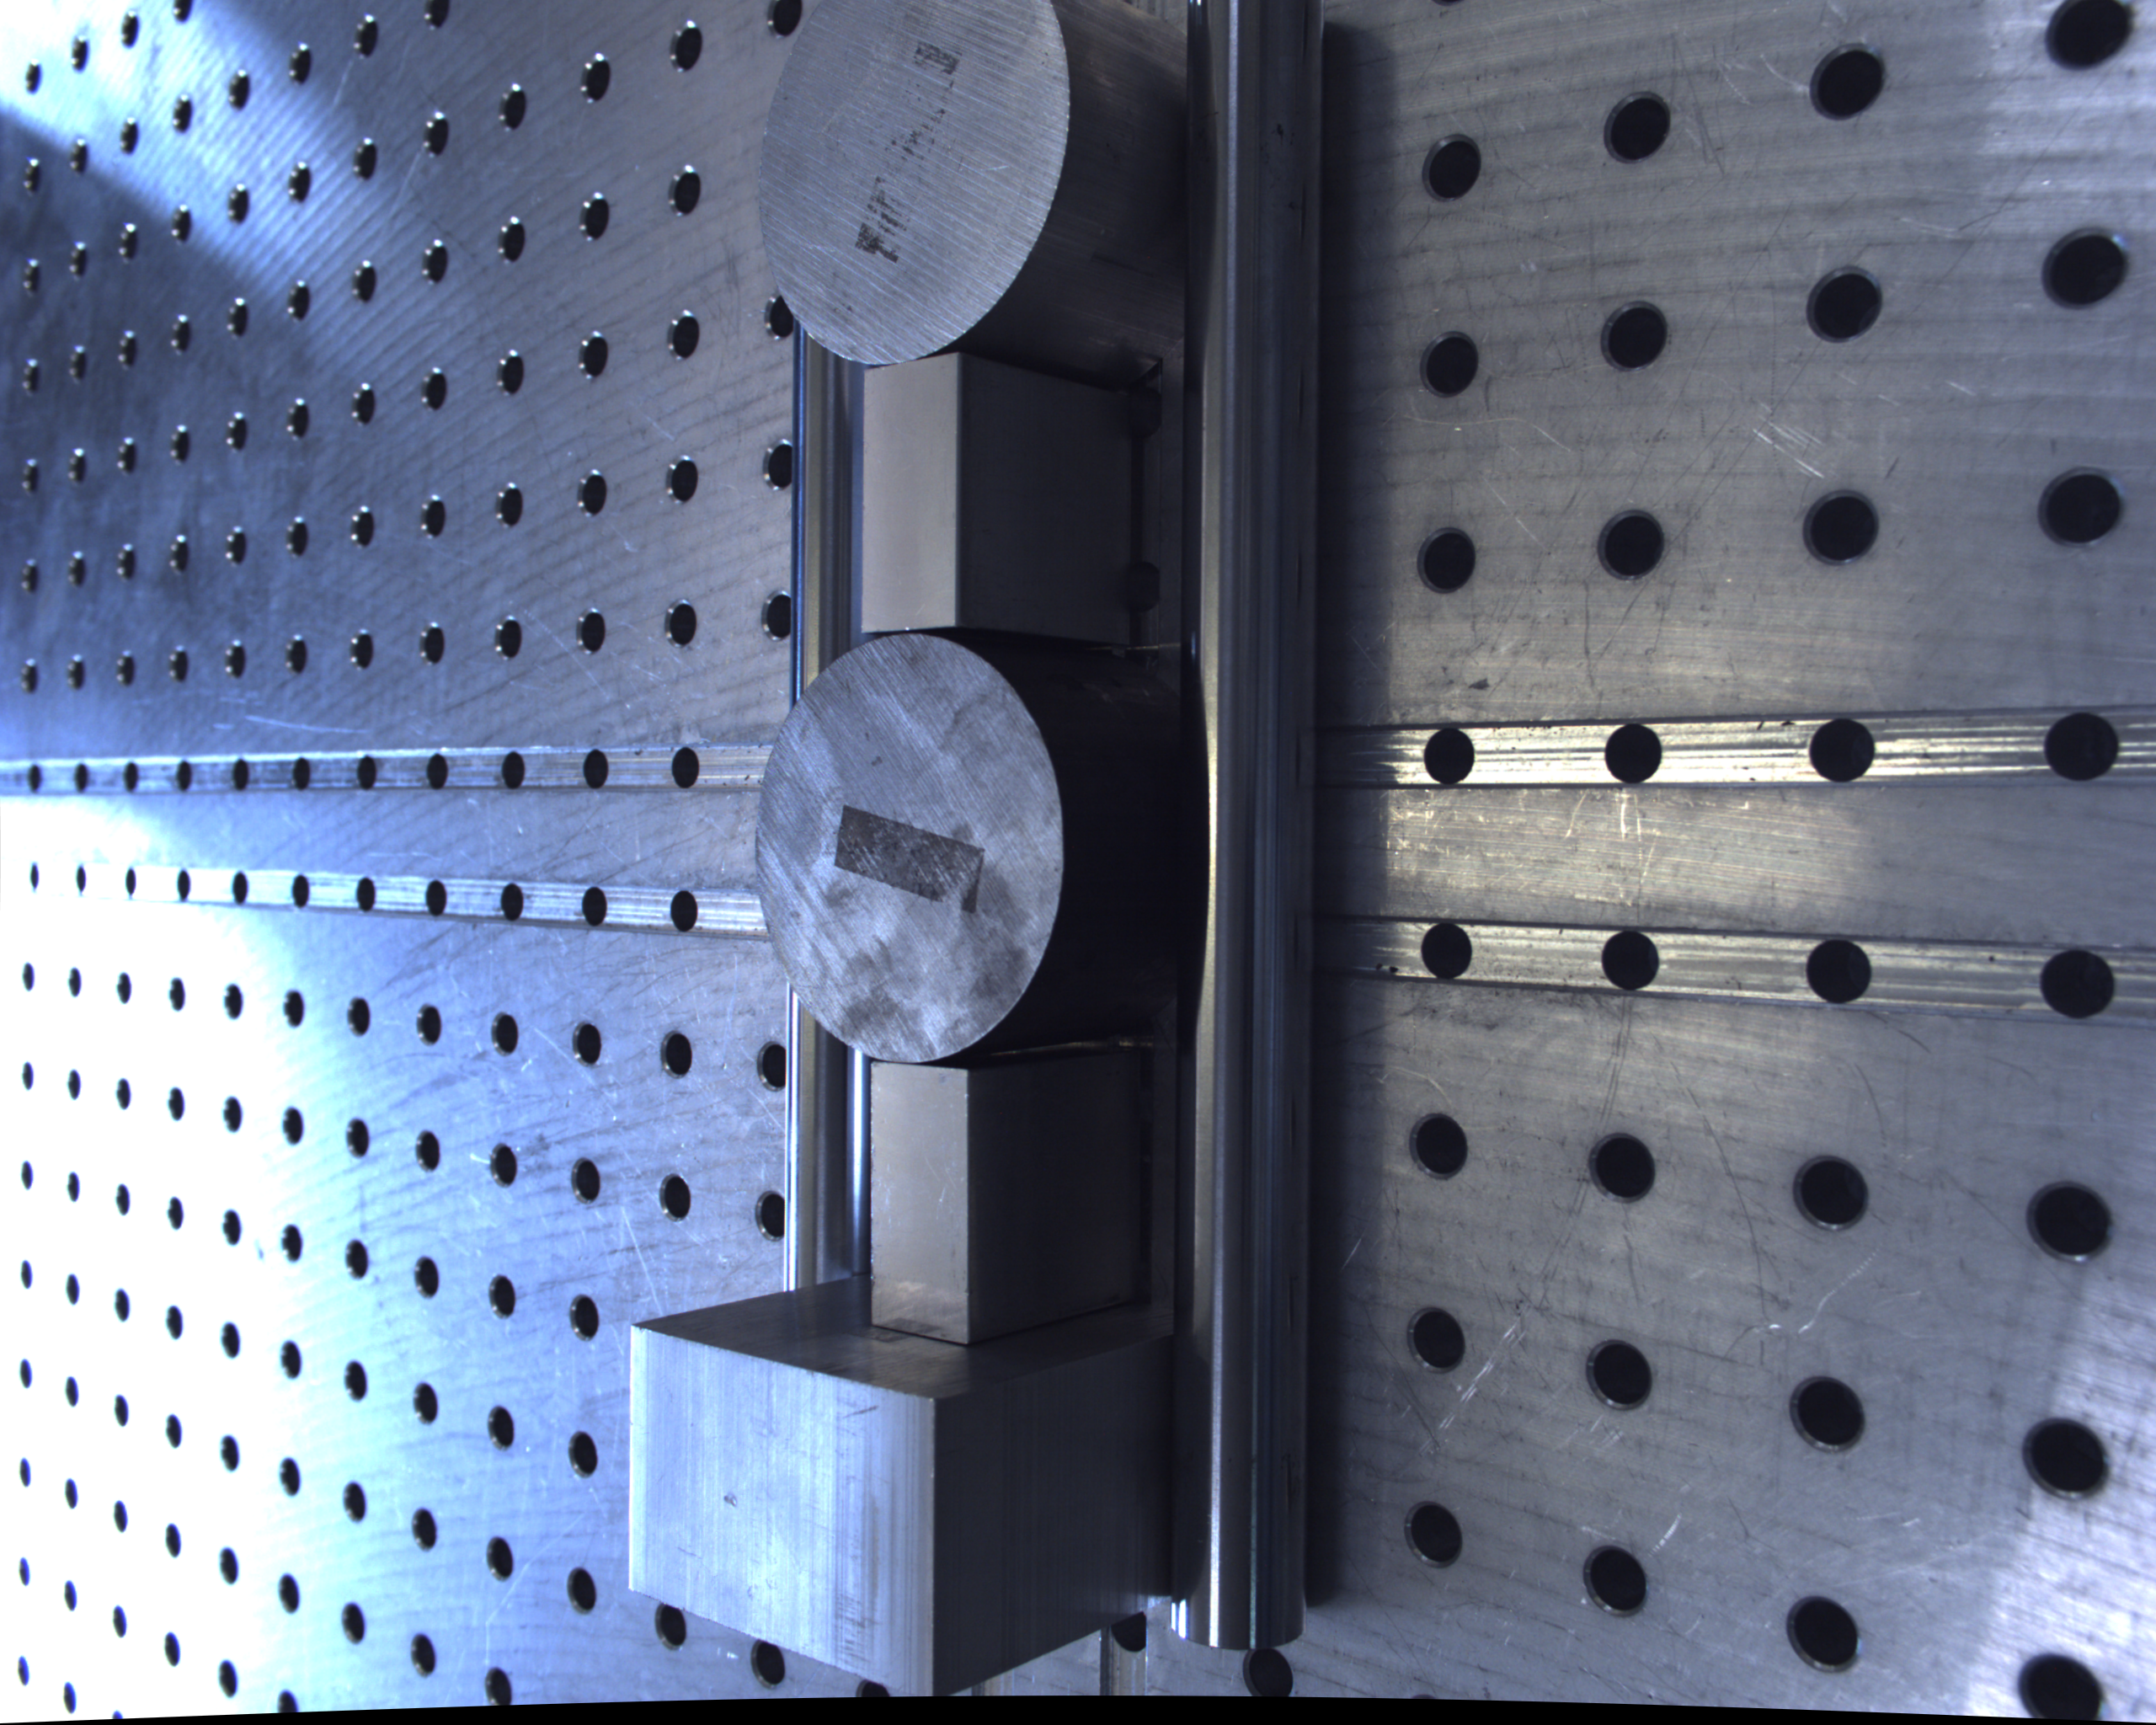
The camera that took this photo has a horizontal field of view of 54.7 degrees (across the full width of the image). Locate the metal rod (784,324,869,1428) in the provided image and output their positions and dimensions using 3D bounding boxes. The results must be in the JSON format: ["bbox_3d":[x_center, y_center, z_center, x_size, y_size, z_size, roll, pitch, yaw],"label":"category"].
[{"bbox_3d":[-0.050,-0.009,0.450,0.025,0.025,0.298,1,91,40],"label":"metal rod"}]

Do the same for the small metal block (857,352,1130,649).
[{"bbox_3d":[-0.016,-0.068,0.405,0.025,0.050,0.050,1,91,40],"label":"small metal block"}]

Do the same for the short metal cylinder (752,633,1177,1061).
[{"bbox_3d":[-0.018,-0.003,0.407,0.080,0.050,0.080,0,90,40],"label":"short metal cylinder"}]

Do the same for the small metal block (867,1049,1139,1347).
[{"bbox_3d":[-0.014,0.062,0.404,0.025,0.050,0.050,0,90,40],"label":"small metal block"}]

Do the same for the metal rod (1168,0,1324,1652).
[{"bbox_3d":[0.031,-0.009,0.383,0.025,0.025,0.298,1,91,40],"label":"metal rod"}]

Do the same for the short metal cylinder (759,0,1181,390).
[{"bbox_3d":[-0.016,-0.133,0.406,0.080,0.050,0.080,0,90,40],"label":"short metal cylinder"}]

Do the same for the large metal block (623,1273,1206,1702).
[{"bbox_3d":[-0.029,0.112,0.397,0.080,0.081,0.050,1,91,40],"label":"large metal block"}]
